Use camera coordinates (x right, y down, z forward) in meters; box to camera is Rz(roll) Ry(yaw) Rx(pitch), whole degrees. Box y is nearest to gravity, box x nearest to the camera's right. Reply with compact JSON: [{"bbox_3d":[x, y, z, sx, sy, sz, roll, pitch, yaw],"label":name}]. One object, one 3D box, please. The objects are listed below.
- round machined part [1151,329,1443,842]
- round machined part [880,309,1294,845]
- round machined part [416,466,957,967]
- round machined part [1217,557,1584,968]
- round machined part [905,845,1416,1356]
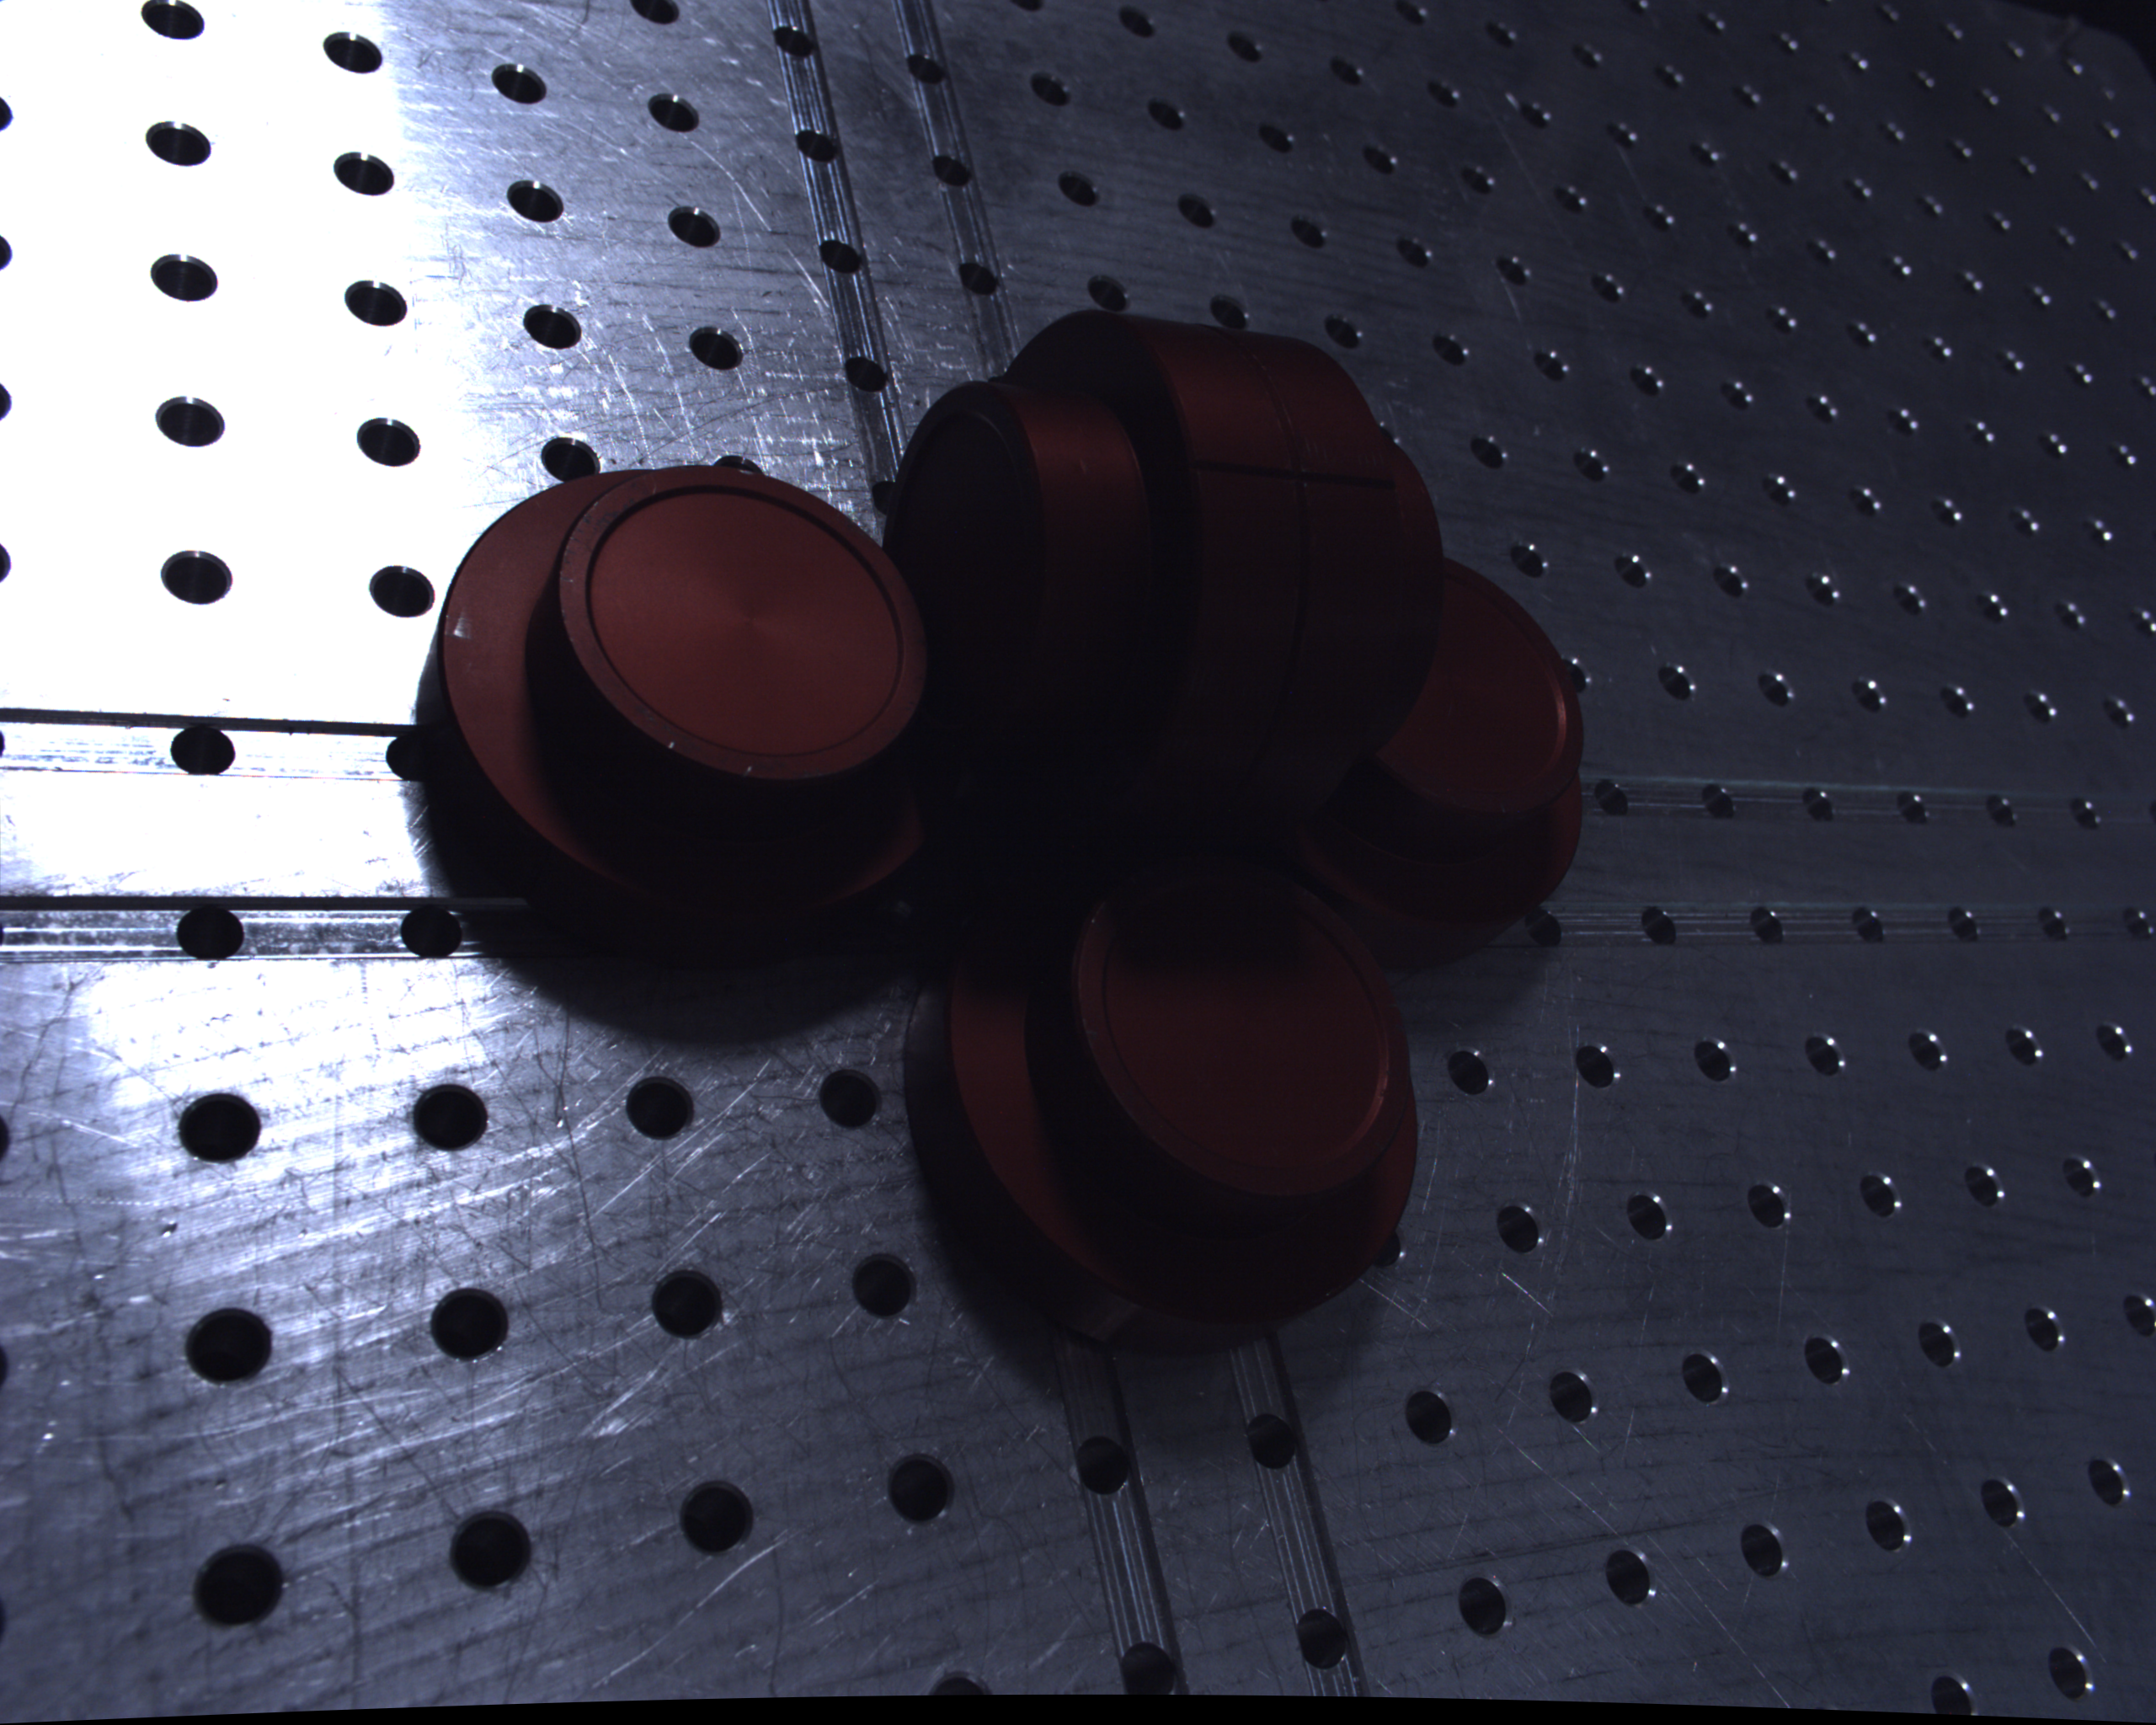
[{"bbox_3d":[0.033,-0.053,0.406,0.042,0.097,0.098,-1,62,-29],"label":"round machined part"},{"bbox_3d":[-0.005,-0.052,0.384,0.042,0.097,0.098,1,61,-28],"label":"round machined part"},{"bbox_3d":[-0.067,-0.033,0.382,0.099,0.042,0.098,14,56,-21],"label":"round machined part"},{"bbox_3d":[0.070,-0.029,0.454,0.099,0.042,0.098,14,56,-21],"label":"round machined part"},{"bbox_3d":[0.021,0.038,0.387,0.099,0.042,0.098,14,56,-21],"label":"round machined part"}]
